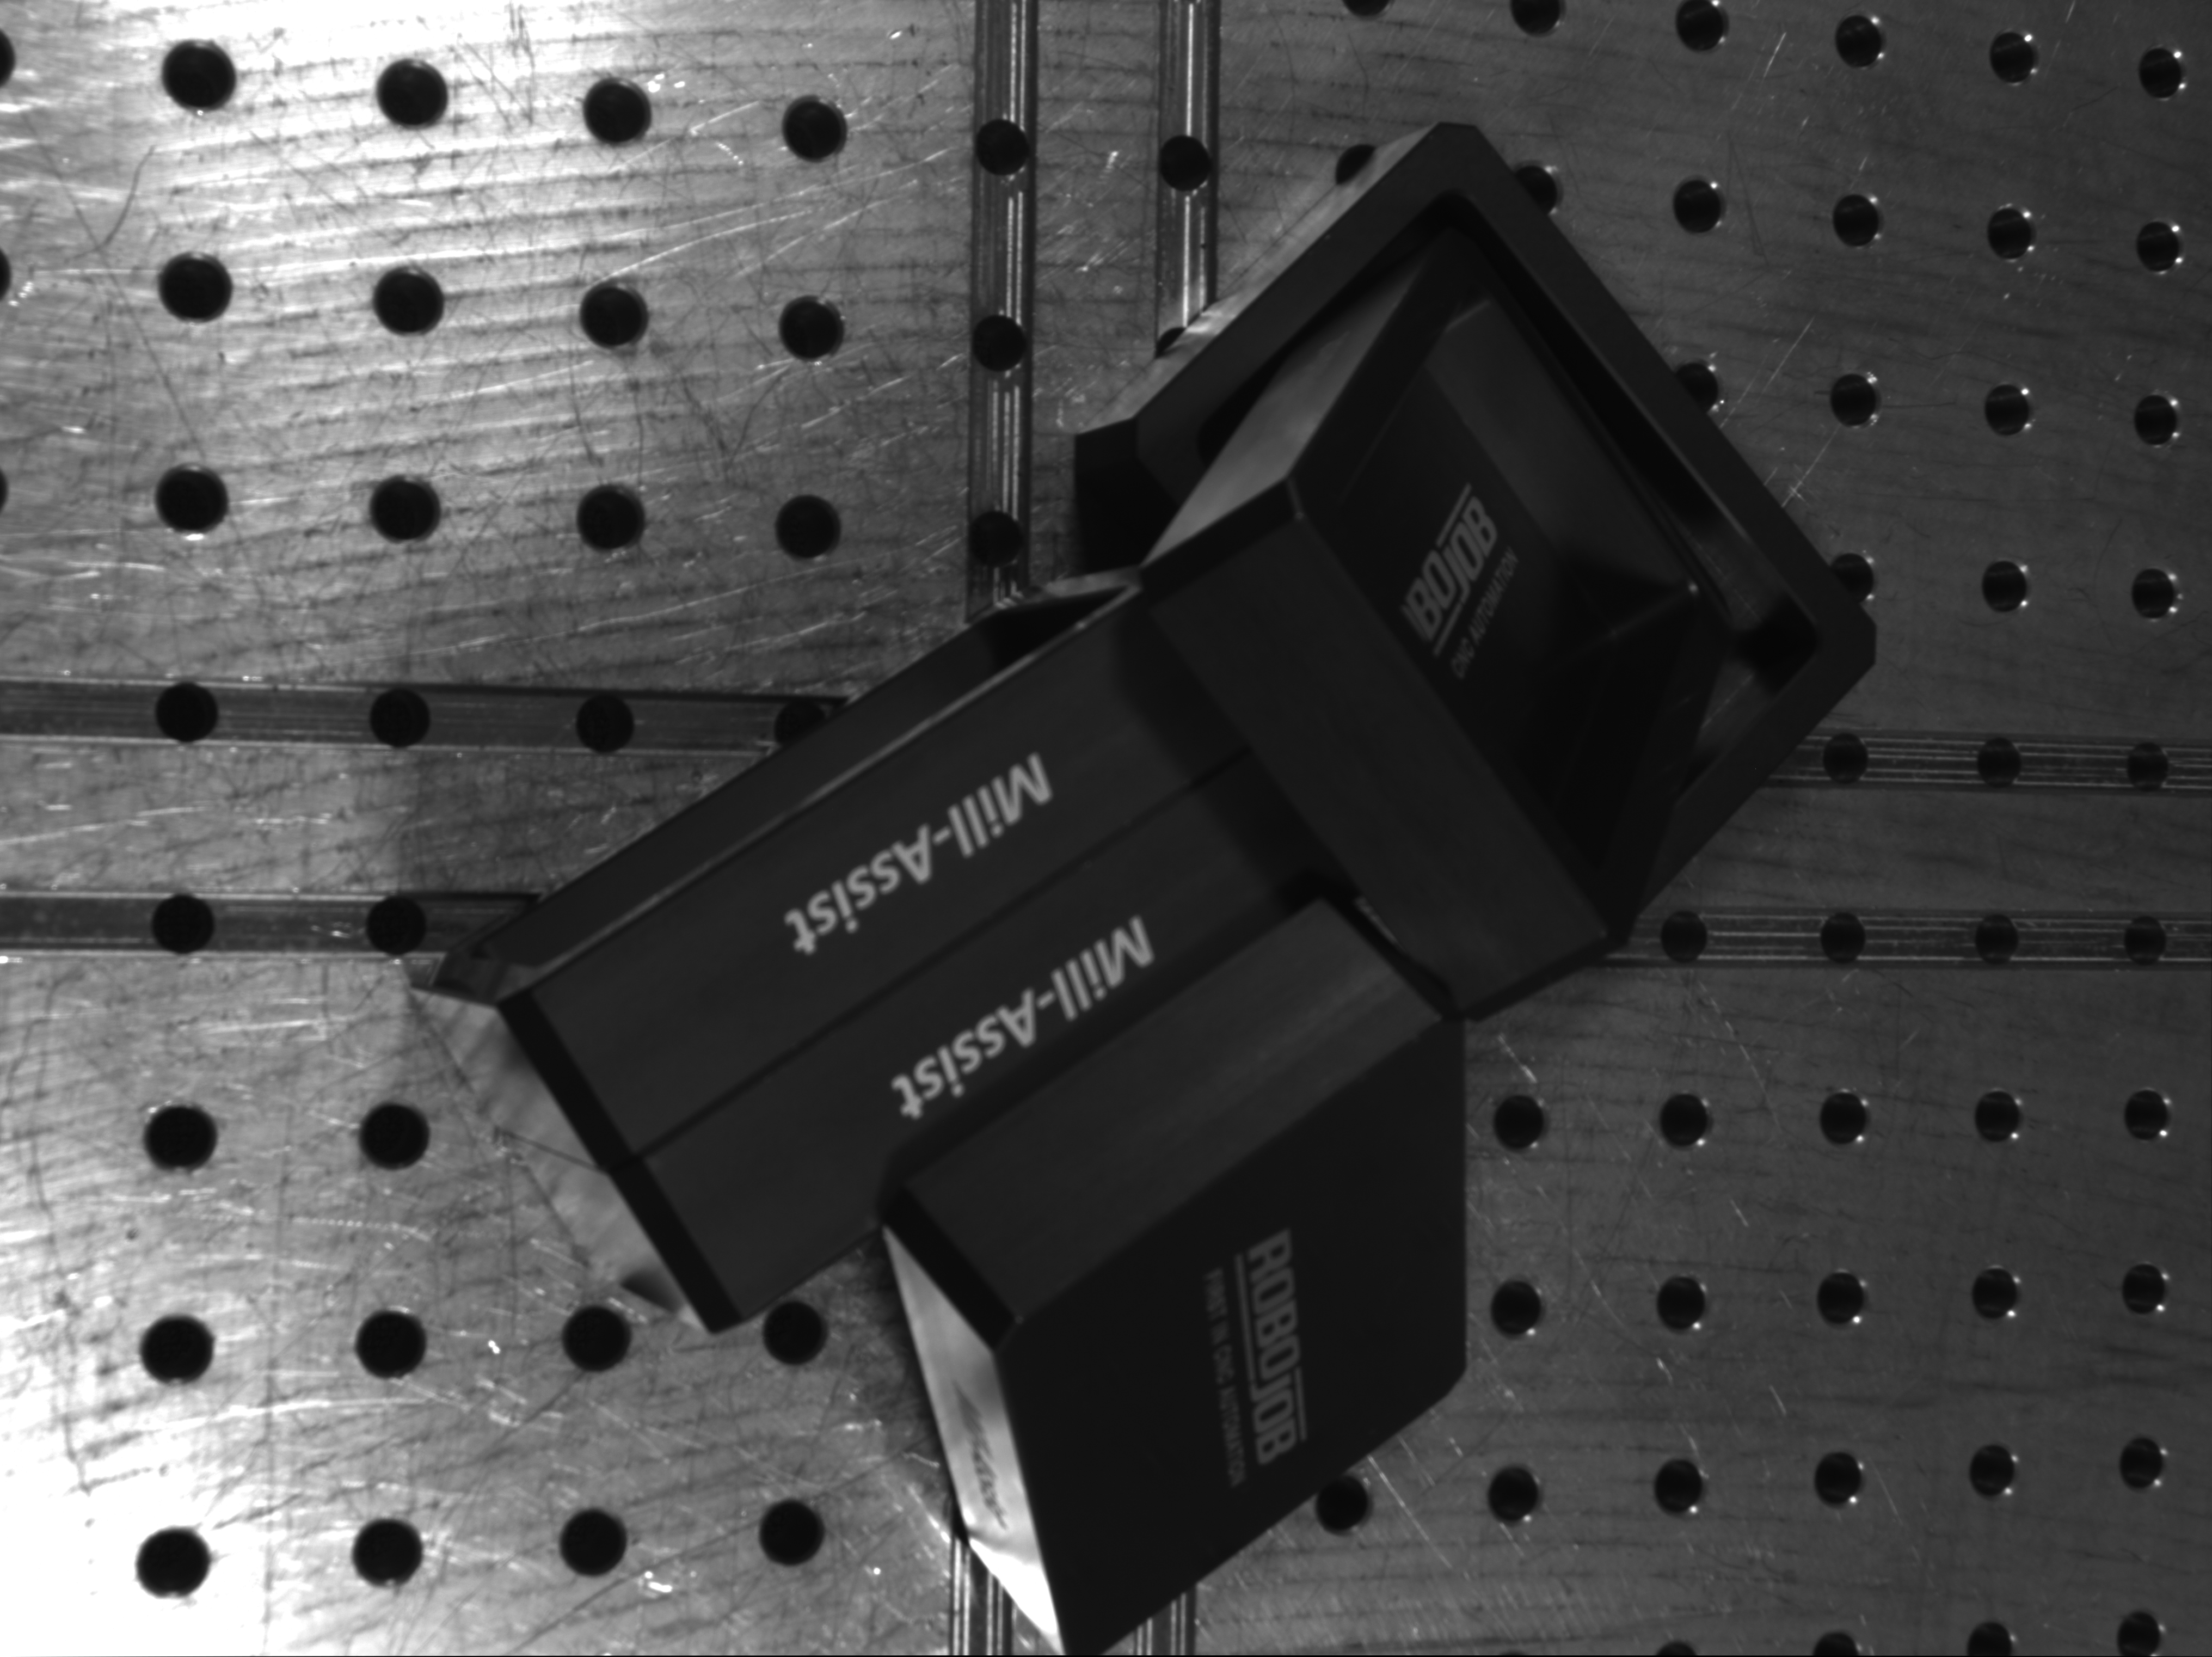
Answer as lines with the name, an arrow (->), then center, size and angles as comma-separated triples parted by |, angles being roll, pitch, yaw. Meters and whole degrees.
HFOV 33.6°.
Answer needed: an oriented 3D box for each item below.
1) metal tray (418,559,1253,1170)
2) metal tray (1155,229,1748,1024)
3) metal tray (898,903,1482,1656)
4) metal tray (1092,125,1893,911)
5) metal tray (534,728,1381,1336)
metal tray -> -0.043, 0.004, 0.595 | 0.130, 0.090, 0.030 | -34, 101, -17
metal tray -> 0.062, -0.037, 0.608 | 0.090, 0.030, 0.130 | 53, 30, -12
metal tray -> 0.018, 0.078, 0.603 | 0.090, 0.130, 0.030 | -34, 59, -17
metal tray -> 0.072, -0.050, 0.668 | 0.090, 0.030, 0.130 | -45, 104, -14
metal tray -> -0.026, 0.029, 0.600 | 0.130, 0.090, 0.030 | -34, 101, -17
